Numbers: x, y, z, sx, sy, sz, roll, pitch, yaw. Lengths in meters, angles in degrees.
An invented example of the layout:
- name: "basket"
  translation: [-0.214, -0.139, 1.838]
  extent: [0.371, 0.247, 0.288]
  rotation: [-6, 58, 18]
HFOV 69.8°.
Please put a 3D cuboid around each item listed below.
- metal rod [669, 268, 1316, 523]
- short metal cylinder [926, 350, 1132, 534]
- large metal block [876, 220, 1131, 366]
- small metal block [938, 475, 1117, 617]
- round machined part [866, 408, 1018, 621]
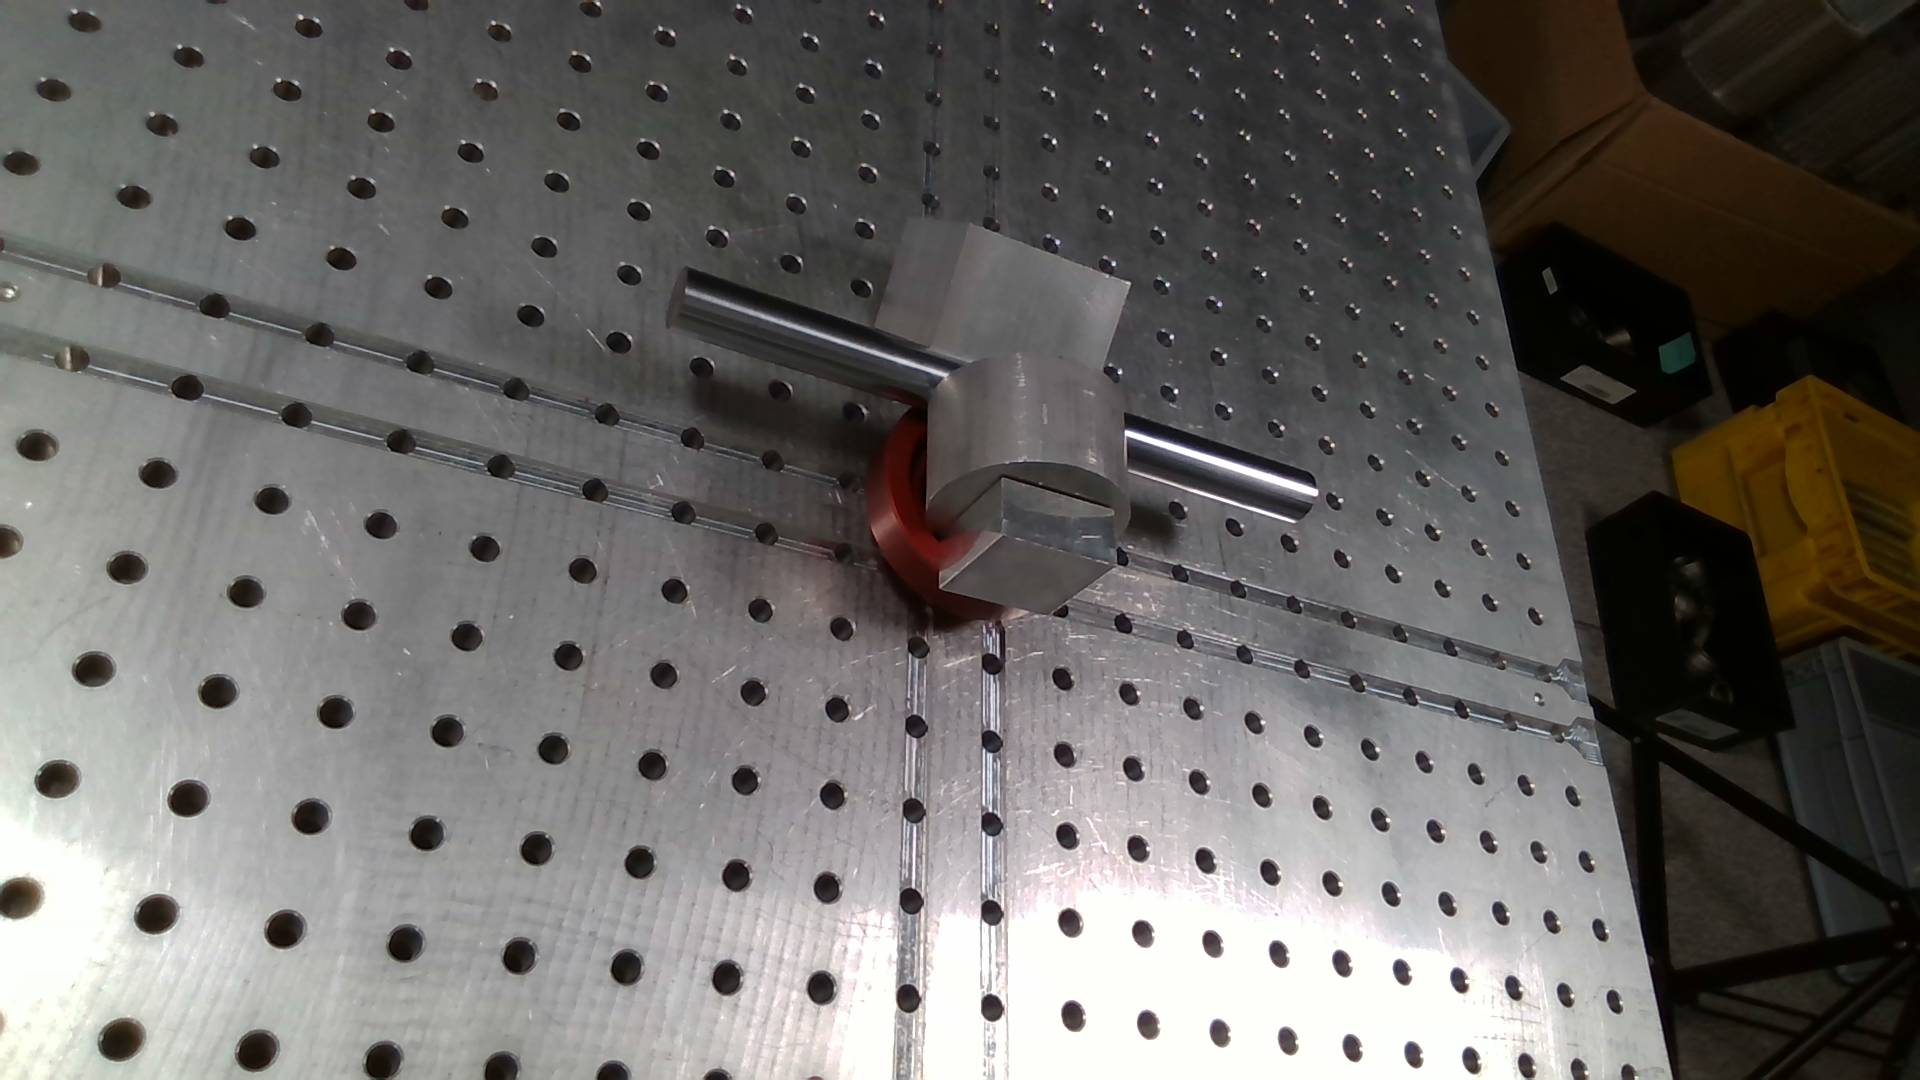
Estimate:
- name: "metal rod"
  translation: [0.026, -0.055, 0.581]
  extent: [0.300, 0.025, 0.025]
  rotation: [15, 58, -24]
- name: "short metal cylinder"
  translation: [0.027, -0.031, 0.548]
  extent: [0.080, 0.080, 0.050]
  rotation: [15, 58, -24]
- name: "large metal block"
  translation: [0.016, -0.102, 0.611]
  extent: [0.080, 0.080, 0.050]
  rotation: [15, 99, -24]
- name: "small metal block"
  translation: [0.025, 0.004, 0.532]
  extent: [0.050, 0.050, 0.025]
  rotation: [15, 58, -24]
- name: "round machined part"
  translation: [0.004, -0.011, 0.585]
  extent: [0.098, 0.042, 0.098]
  rotation: [14, 59, -25]
